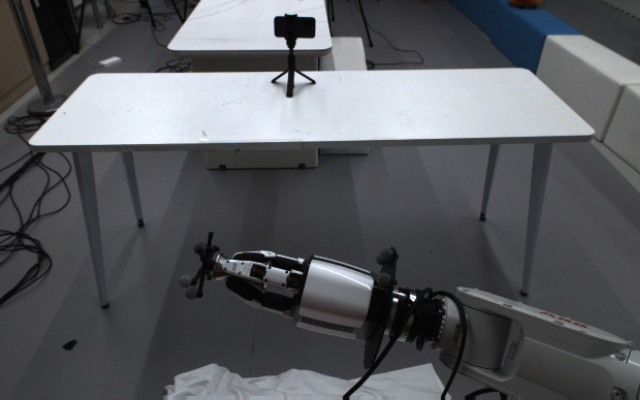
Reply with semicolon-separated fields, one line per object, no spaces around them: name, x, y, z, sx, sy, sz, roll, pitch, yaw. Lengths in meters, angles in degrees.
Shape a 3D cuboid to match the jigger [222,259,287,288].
jigger;-0.095;0.091;0.637;0.071;0.043;0.043;11;35;3
